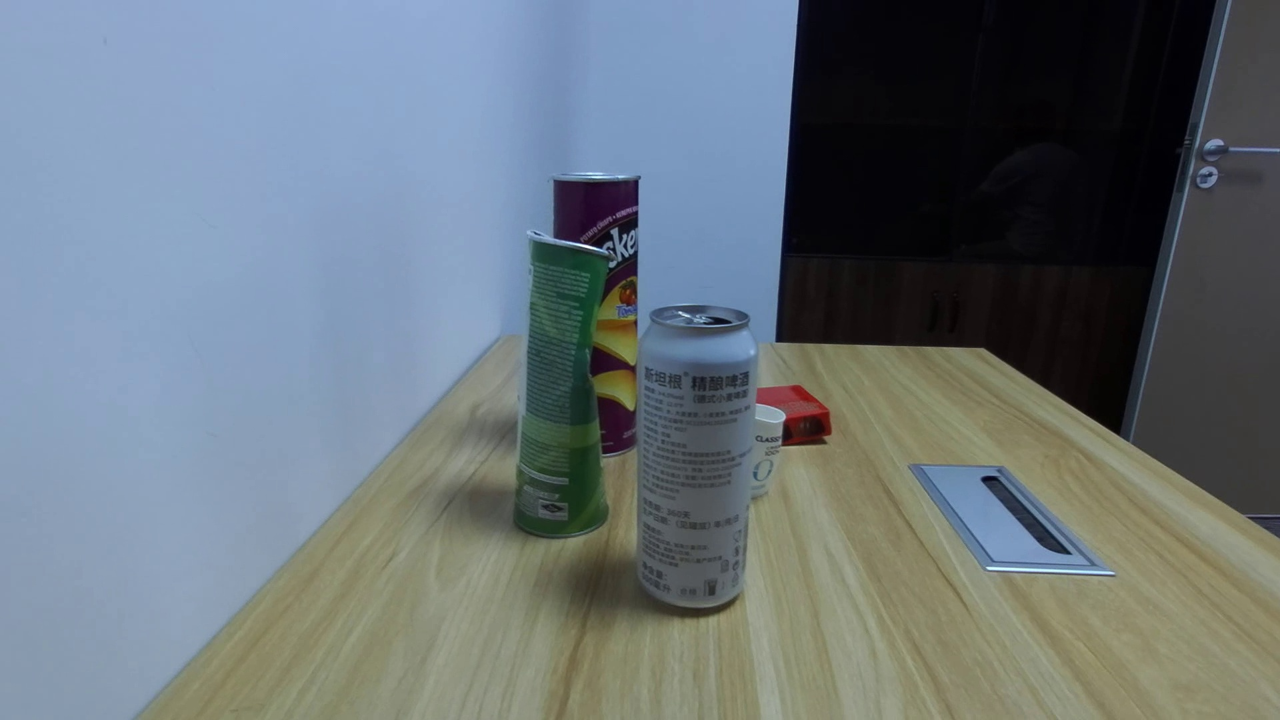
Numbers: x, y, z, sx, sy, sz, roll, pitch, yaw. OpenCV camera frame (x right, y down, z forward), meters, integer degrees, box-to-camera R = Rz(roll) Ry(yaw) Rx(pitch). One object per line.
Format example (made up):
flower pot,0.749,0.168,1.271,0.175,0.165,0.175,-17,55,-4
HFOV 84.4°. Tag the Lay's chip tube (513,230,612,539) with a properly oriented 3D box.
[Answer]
Lay's chip tube,-0.055,0.017,0.486,0.077,0.201,0.069,9,17,20

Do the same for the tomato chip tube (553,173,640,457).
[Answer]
tomato chip tube,-0.036,-0.035,0.602,0.080,0.234,0.076,-6,11,-28

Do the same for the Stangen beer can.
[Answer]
Stangen beer can,0.032,0.056,0.407,0.067,0.171,0.067,0,17,0

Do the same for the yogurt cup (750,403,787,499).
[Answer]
yogurt cup,0.078,0.064,0.551,0.075,0.071,0.054,13,22,28

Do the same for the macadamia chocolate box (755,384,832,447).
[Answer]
macadamia chocolate box,0.112,0.060,0.673,0.126,0.056,0.112,3,19,-3
